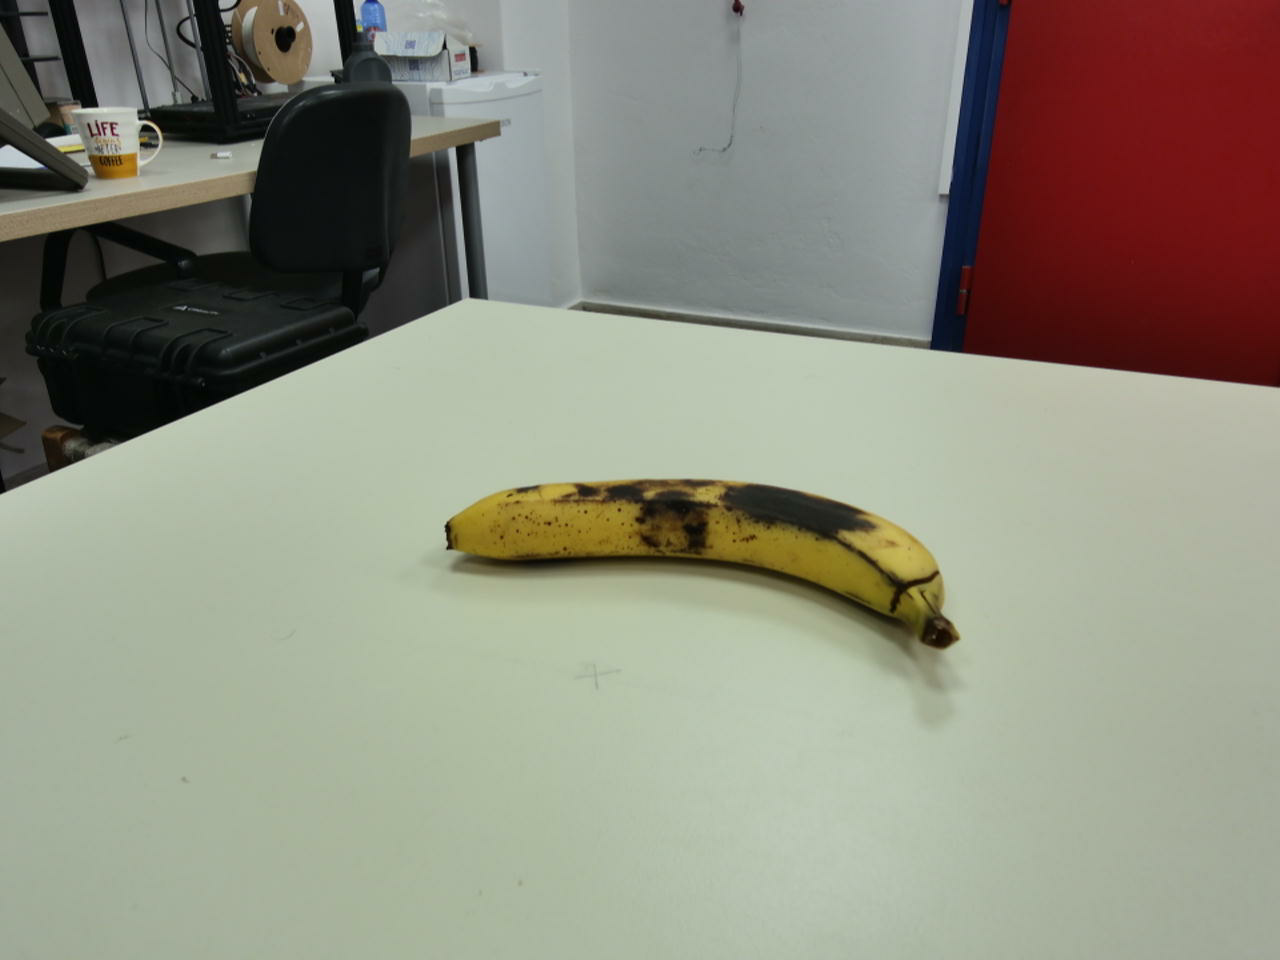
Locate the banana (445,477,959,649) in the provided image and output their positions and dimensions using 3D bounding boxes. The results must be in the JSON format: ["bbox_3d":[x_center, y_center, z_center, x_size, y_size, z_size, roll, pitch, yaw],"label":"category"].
[{"bbox_3d":[0.028,0.025,0.428,0.222,0.037,0.084,11,26,24],"label":"banana"}]
